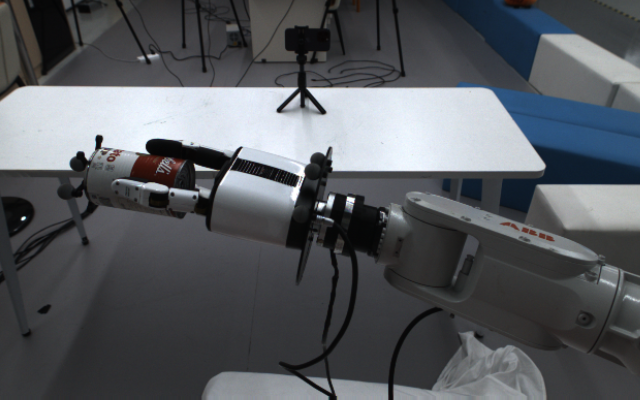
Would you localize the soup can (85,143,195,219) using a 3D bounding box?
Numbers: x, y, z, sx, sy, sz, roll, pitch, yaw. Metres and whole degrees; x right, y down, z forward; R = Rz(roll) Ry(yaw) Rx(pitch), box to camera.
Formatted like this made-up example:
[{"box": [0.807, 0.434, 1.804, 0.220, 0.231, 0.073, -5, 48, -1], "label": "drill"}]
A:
[{"box": [-0.199, -0.019, 0.548, 0.101, 0.067, 0.067, 9, 35, 2], "label": "soup can"}]
